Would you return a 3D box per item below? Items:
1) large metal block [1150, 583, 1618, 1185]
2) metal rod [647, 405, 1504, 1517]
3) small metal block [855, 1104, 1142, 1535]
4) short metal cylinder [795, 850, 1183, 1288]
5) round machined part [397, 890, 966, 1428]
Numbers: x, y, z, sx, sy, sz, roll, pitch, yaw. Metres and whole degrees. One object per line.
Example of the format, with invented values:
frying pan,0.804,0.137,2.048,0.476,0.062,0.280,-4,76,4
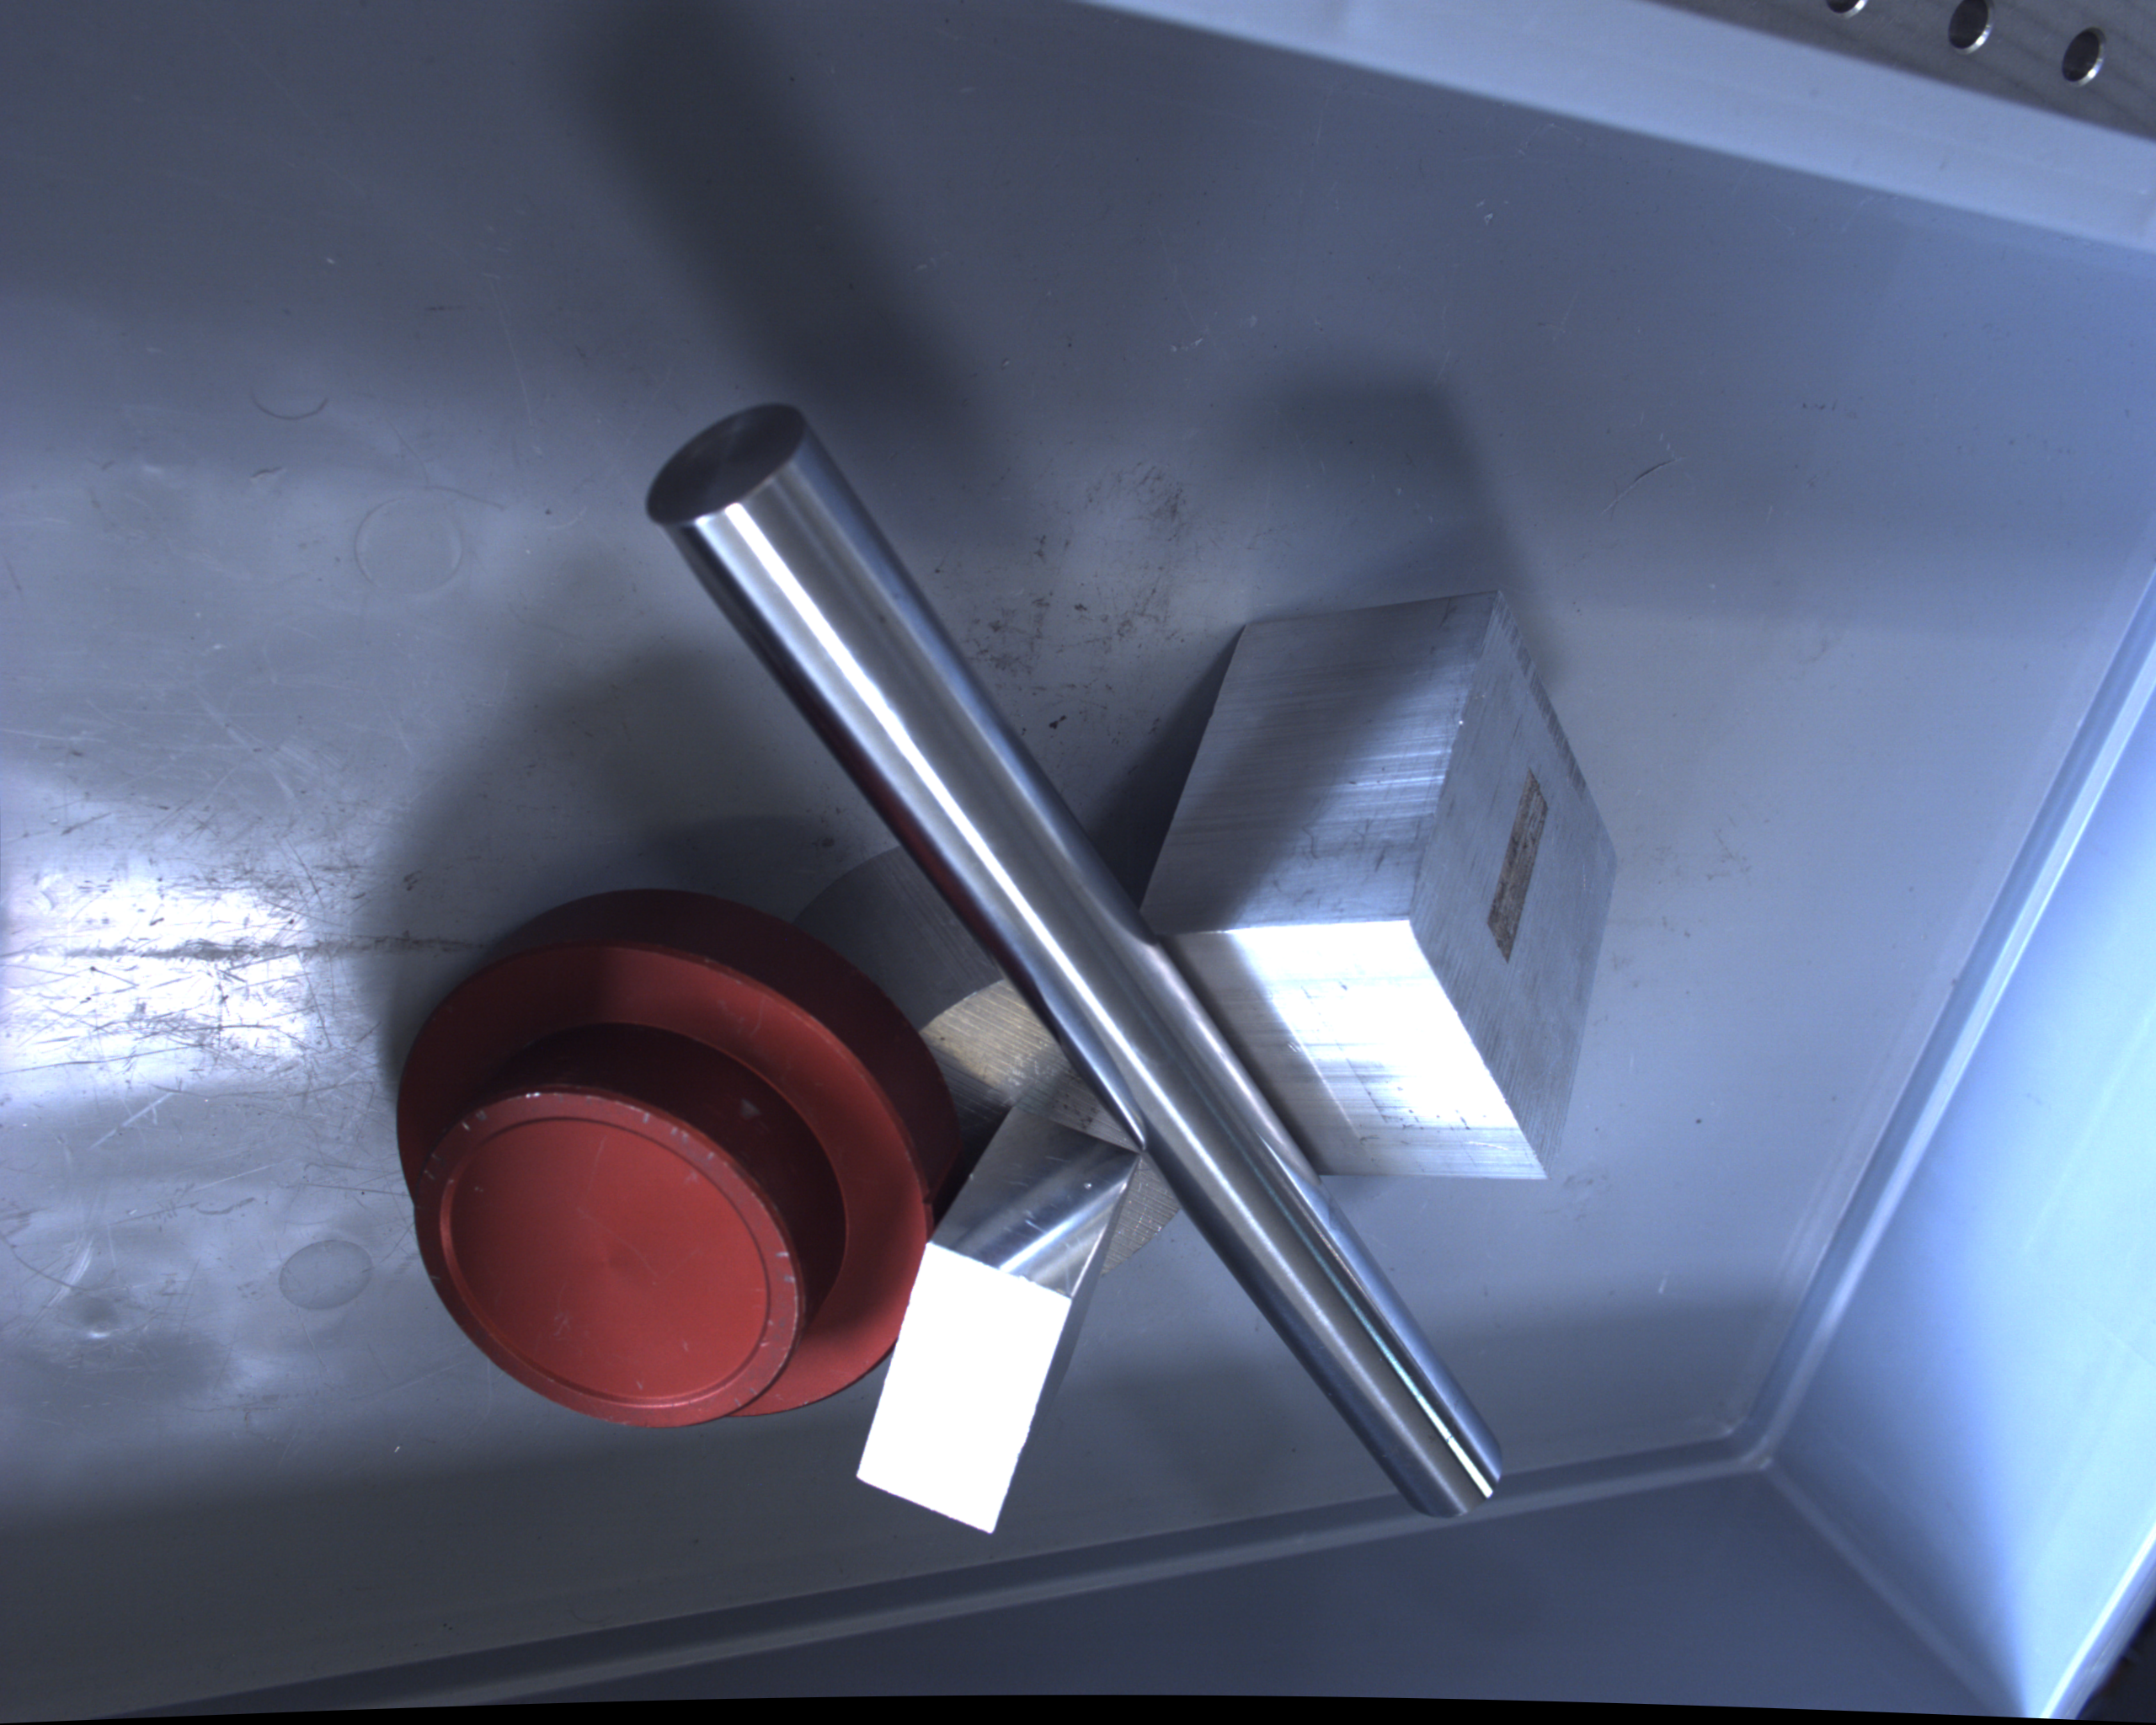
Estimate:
large metal block,0.062,0.006,0.400,0.080,0.050,0.080,55,43,-39
metal rod,0.018,0.041,0.377,0.025,0.025,0.300,-37,129,-3
small metal block,-0.013,0.078,0.364,0.025,0.050,0.050,20,114,7
short metal cylinder,-0.018,0.041,0.406,0.081,0.050,0.079,-14,124,-21
round machined part,-0.072,0.057,0.358,0.098,0.042,0.097,6,117,12
